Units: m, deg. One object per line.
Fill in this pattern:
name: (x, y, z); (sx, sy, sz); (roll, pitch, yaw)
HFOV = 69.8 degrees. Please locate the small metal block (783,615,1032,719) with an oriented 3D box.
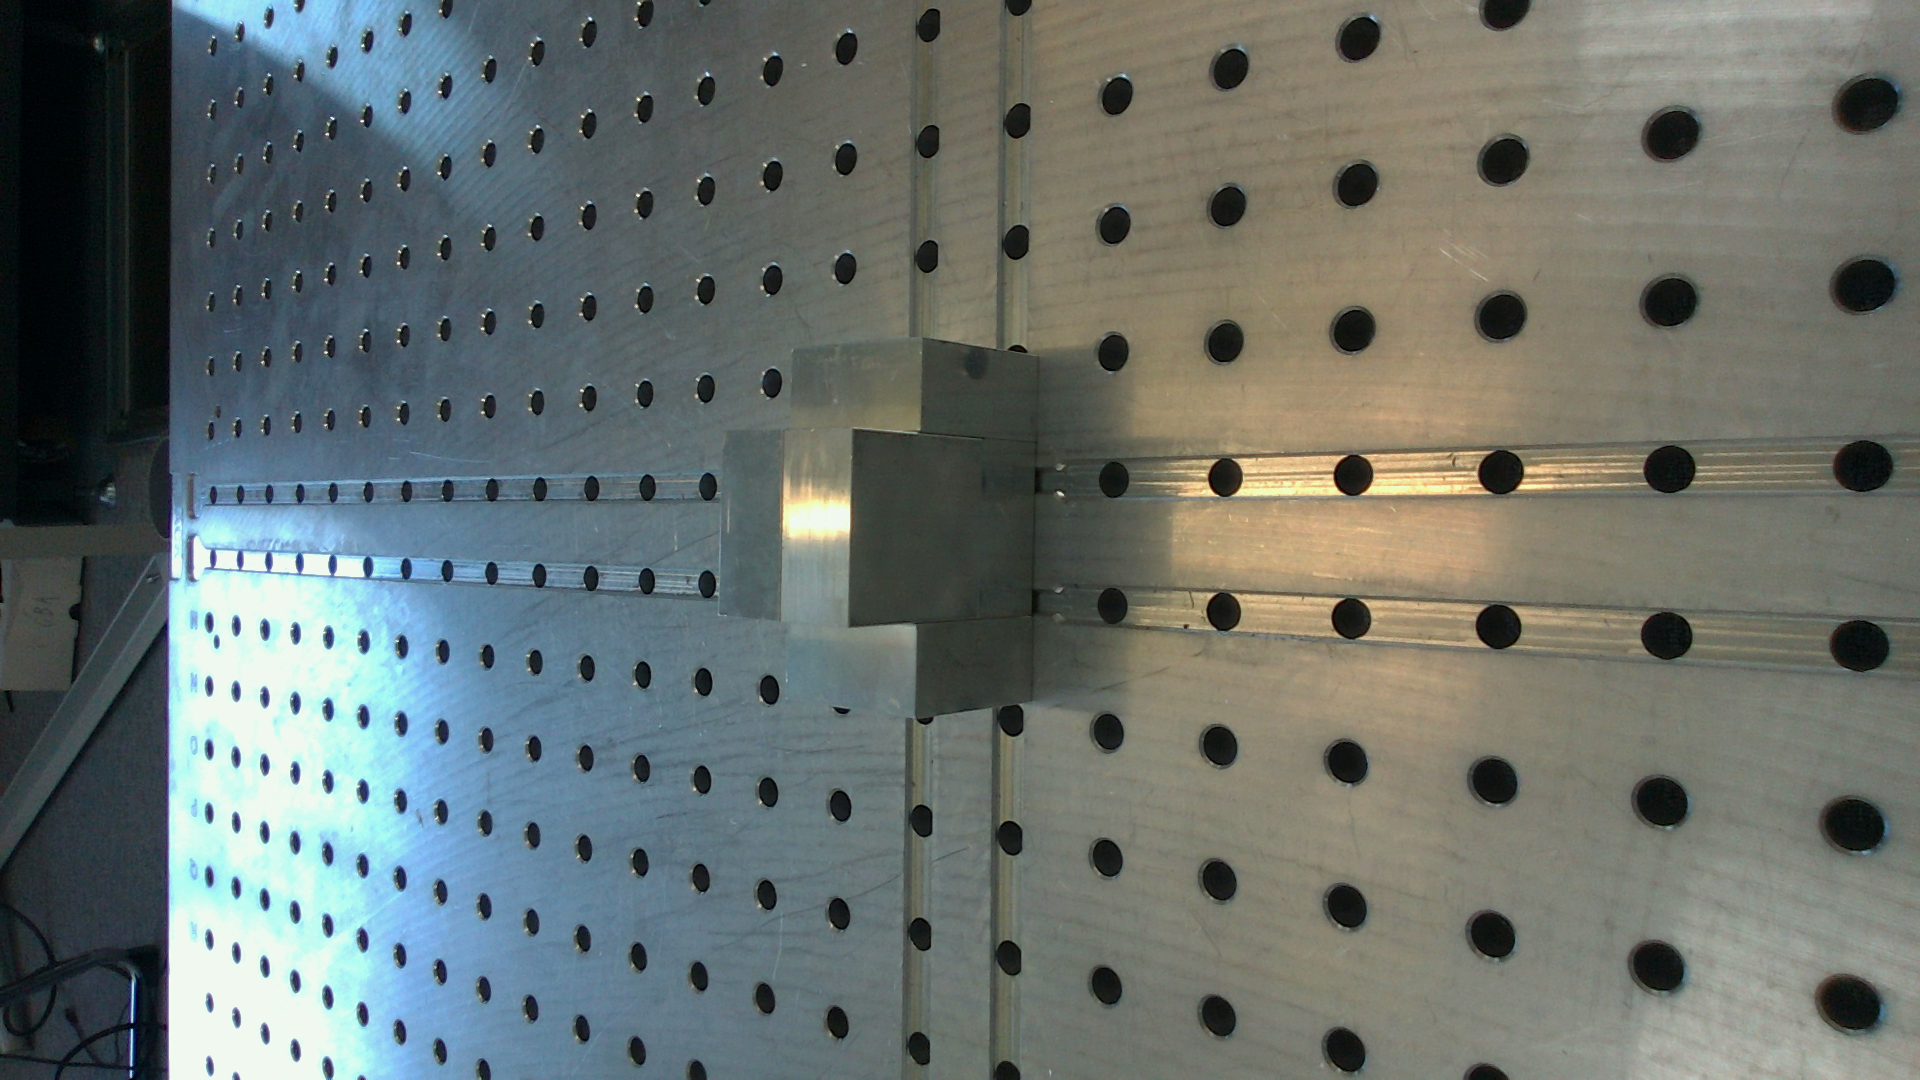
small metal block: (-0.015, 0.033, 0.394); (0.050, 0.050, 0.025); (2, 91, 40)

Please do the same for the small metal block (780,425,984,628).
small metal block: (-0.020, -0.004, 0.365); (0.025, 0.050, 0.050); (2, 92, 41)

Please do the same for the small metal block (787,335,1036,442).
small metal block: (-0.014, -0.041, 0.392); (0.050, 0.050, 0.025); (3, 92, 40)

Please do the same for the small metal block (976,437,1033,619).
small metal block: (-0.007, -0.004, 0.403); (0.050, 0.025, 0.050); (2, 92, 41)

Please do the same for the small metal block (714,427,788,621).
small metal block: (-0.040, -0.004, 0.382); (0.025, 0.050, 0.050); (2, 91, 40)
